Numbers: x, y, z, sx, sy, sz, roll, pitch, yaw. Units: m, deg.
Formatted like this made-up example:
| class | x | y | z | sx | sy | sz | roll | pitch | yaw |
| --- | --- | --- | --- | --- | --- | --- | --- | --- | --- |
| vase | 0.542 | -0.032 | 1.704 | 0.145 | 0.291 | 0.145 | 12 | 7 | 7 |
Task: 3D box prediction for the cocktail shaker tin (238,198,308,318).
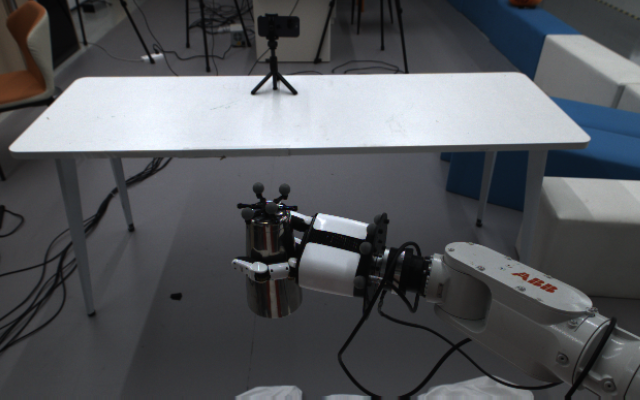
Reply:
| class | x | y | z | sx | sy | sz | roll | pitch | yaw |
| --- | --- | --- | --- | --- | --- | --- | --- | --- | --- |
| cocktail shaker tin | -0.074 | 0.088 | 0.751 | 0.093 | 0.170 | 0.093 | -1 | 33 | 0 |
